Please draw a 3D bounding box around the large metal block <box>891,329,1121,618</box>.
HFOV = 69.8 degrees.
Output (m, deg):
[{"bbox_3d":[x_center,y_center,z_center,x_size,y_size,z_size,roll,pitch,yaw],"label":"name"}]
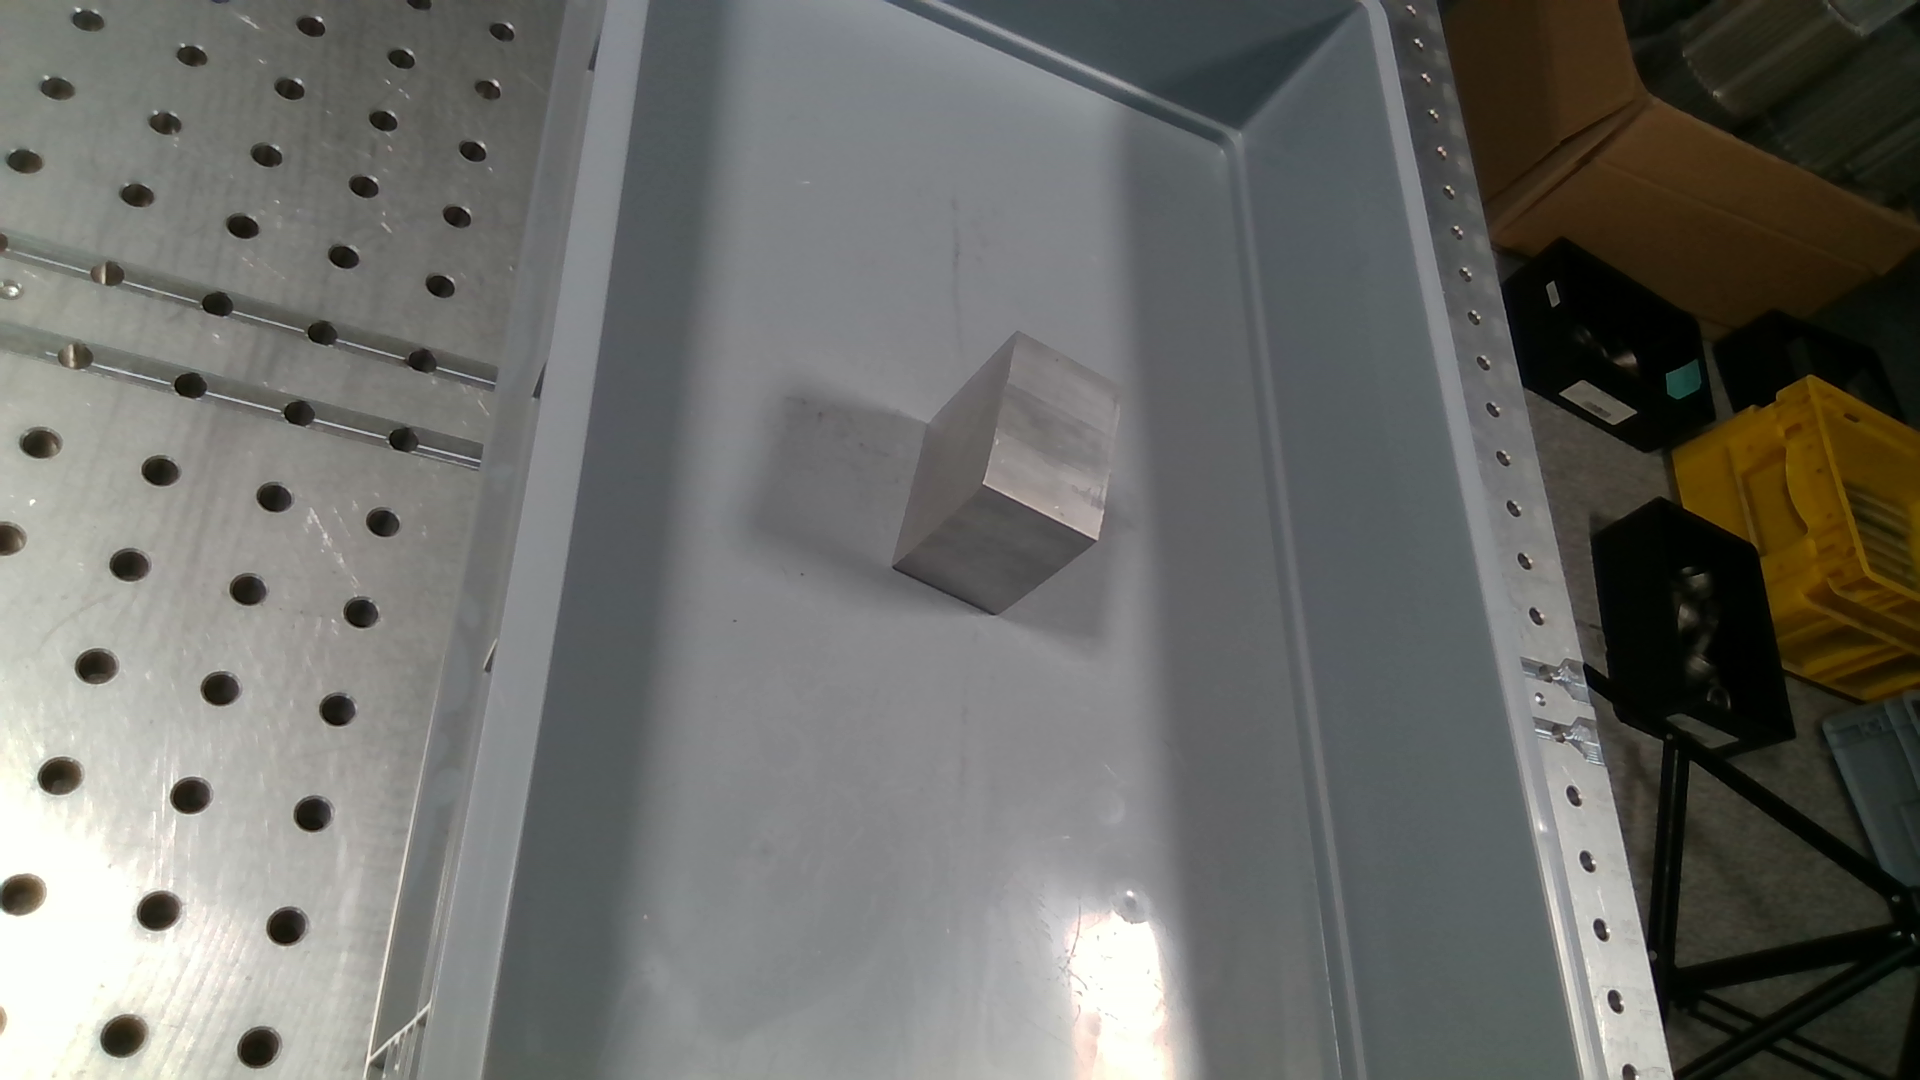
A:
[{"bbox_3d":[0.019,-0.026,0.574,0.050,0.080,0.080,25,55,-18],"label":"large metal block"}]
